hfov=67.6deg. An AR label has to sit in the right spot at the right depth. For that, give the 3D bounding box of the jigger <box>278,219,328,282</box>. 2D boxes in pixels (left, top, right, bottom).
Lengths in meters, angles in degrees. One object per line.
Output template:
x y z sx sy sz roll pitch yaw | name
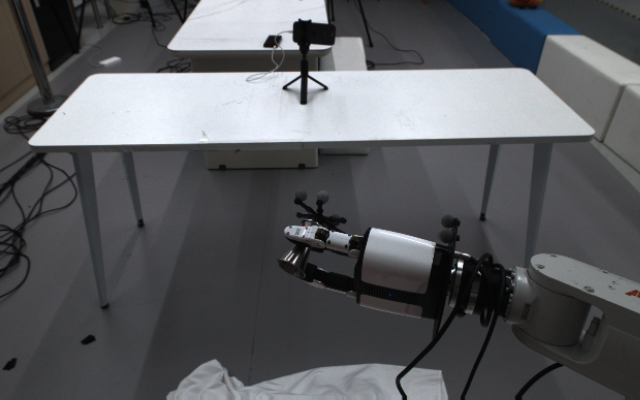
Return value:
-0.024 0.061 0.643 0.043 0.043 0.071 19 61 23 | jigger
